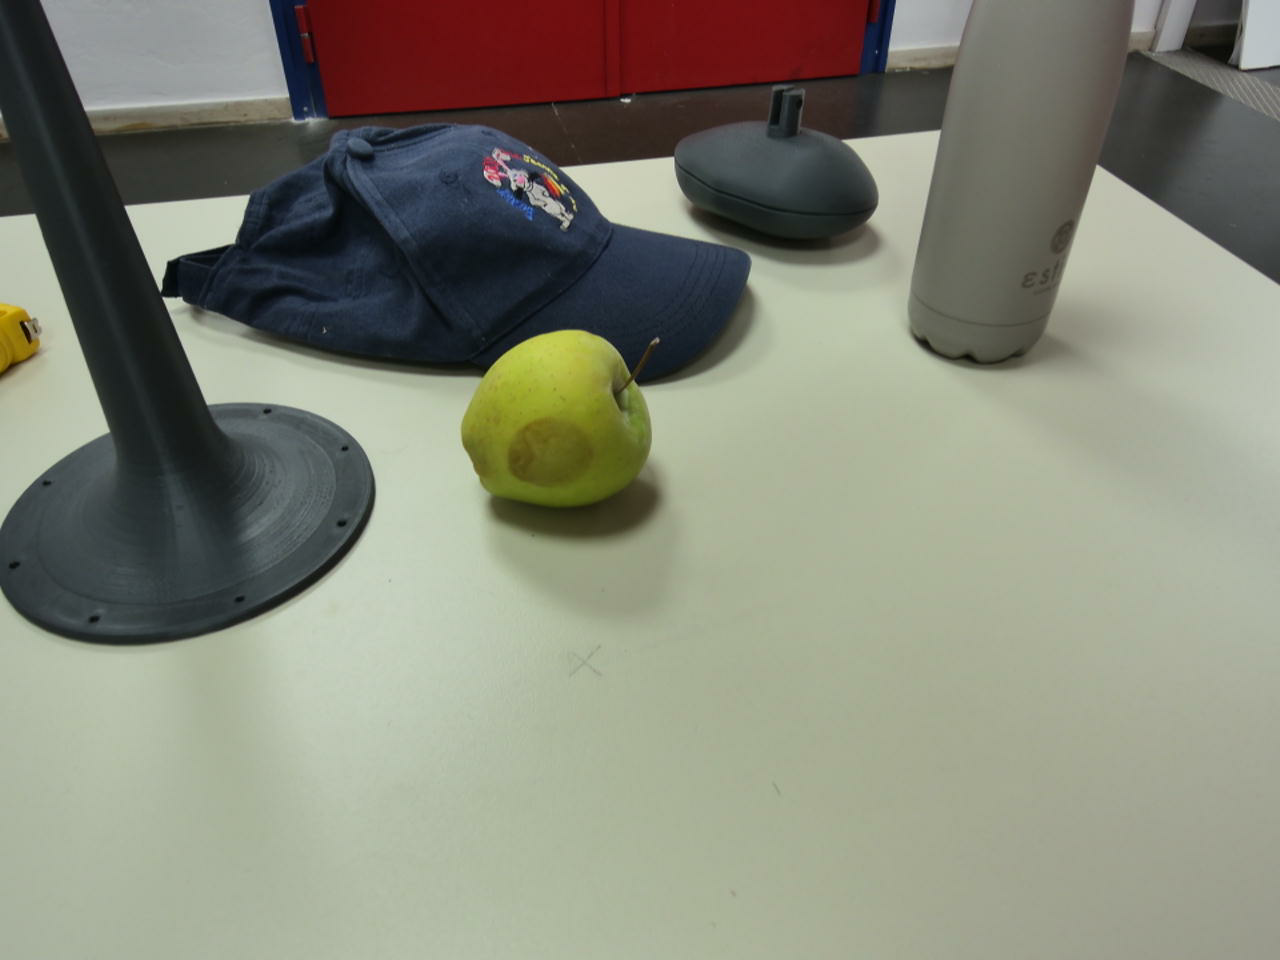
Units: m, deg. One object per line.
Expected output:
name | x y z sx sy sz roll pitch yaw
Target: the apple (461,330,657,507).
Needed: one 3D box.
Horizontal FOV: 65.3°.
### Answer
apple | -0.033 -0.026 0.420 0.077 0.075 0.072 21 42 23
